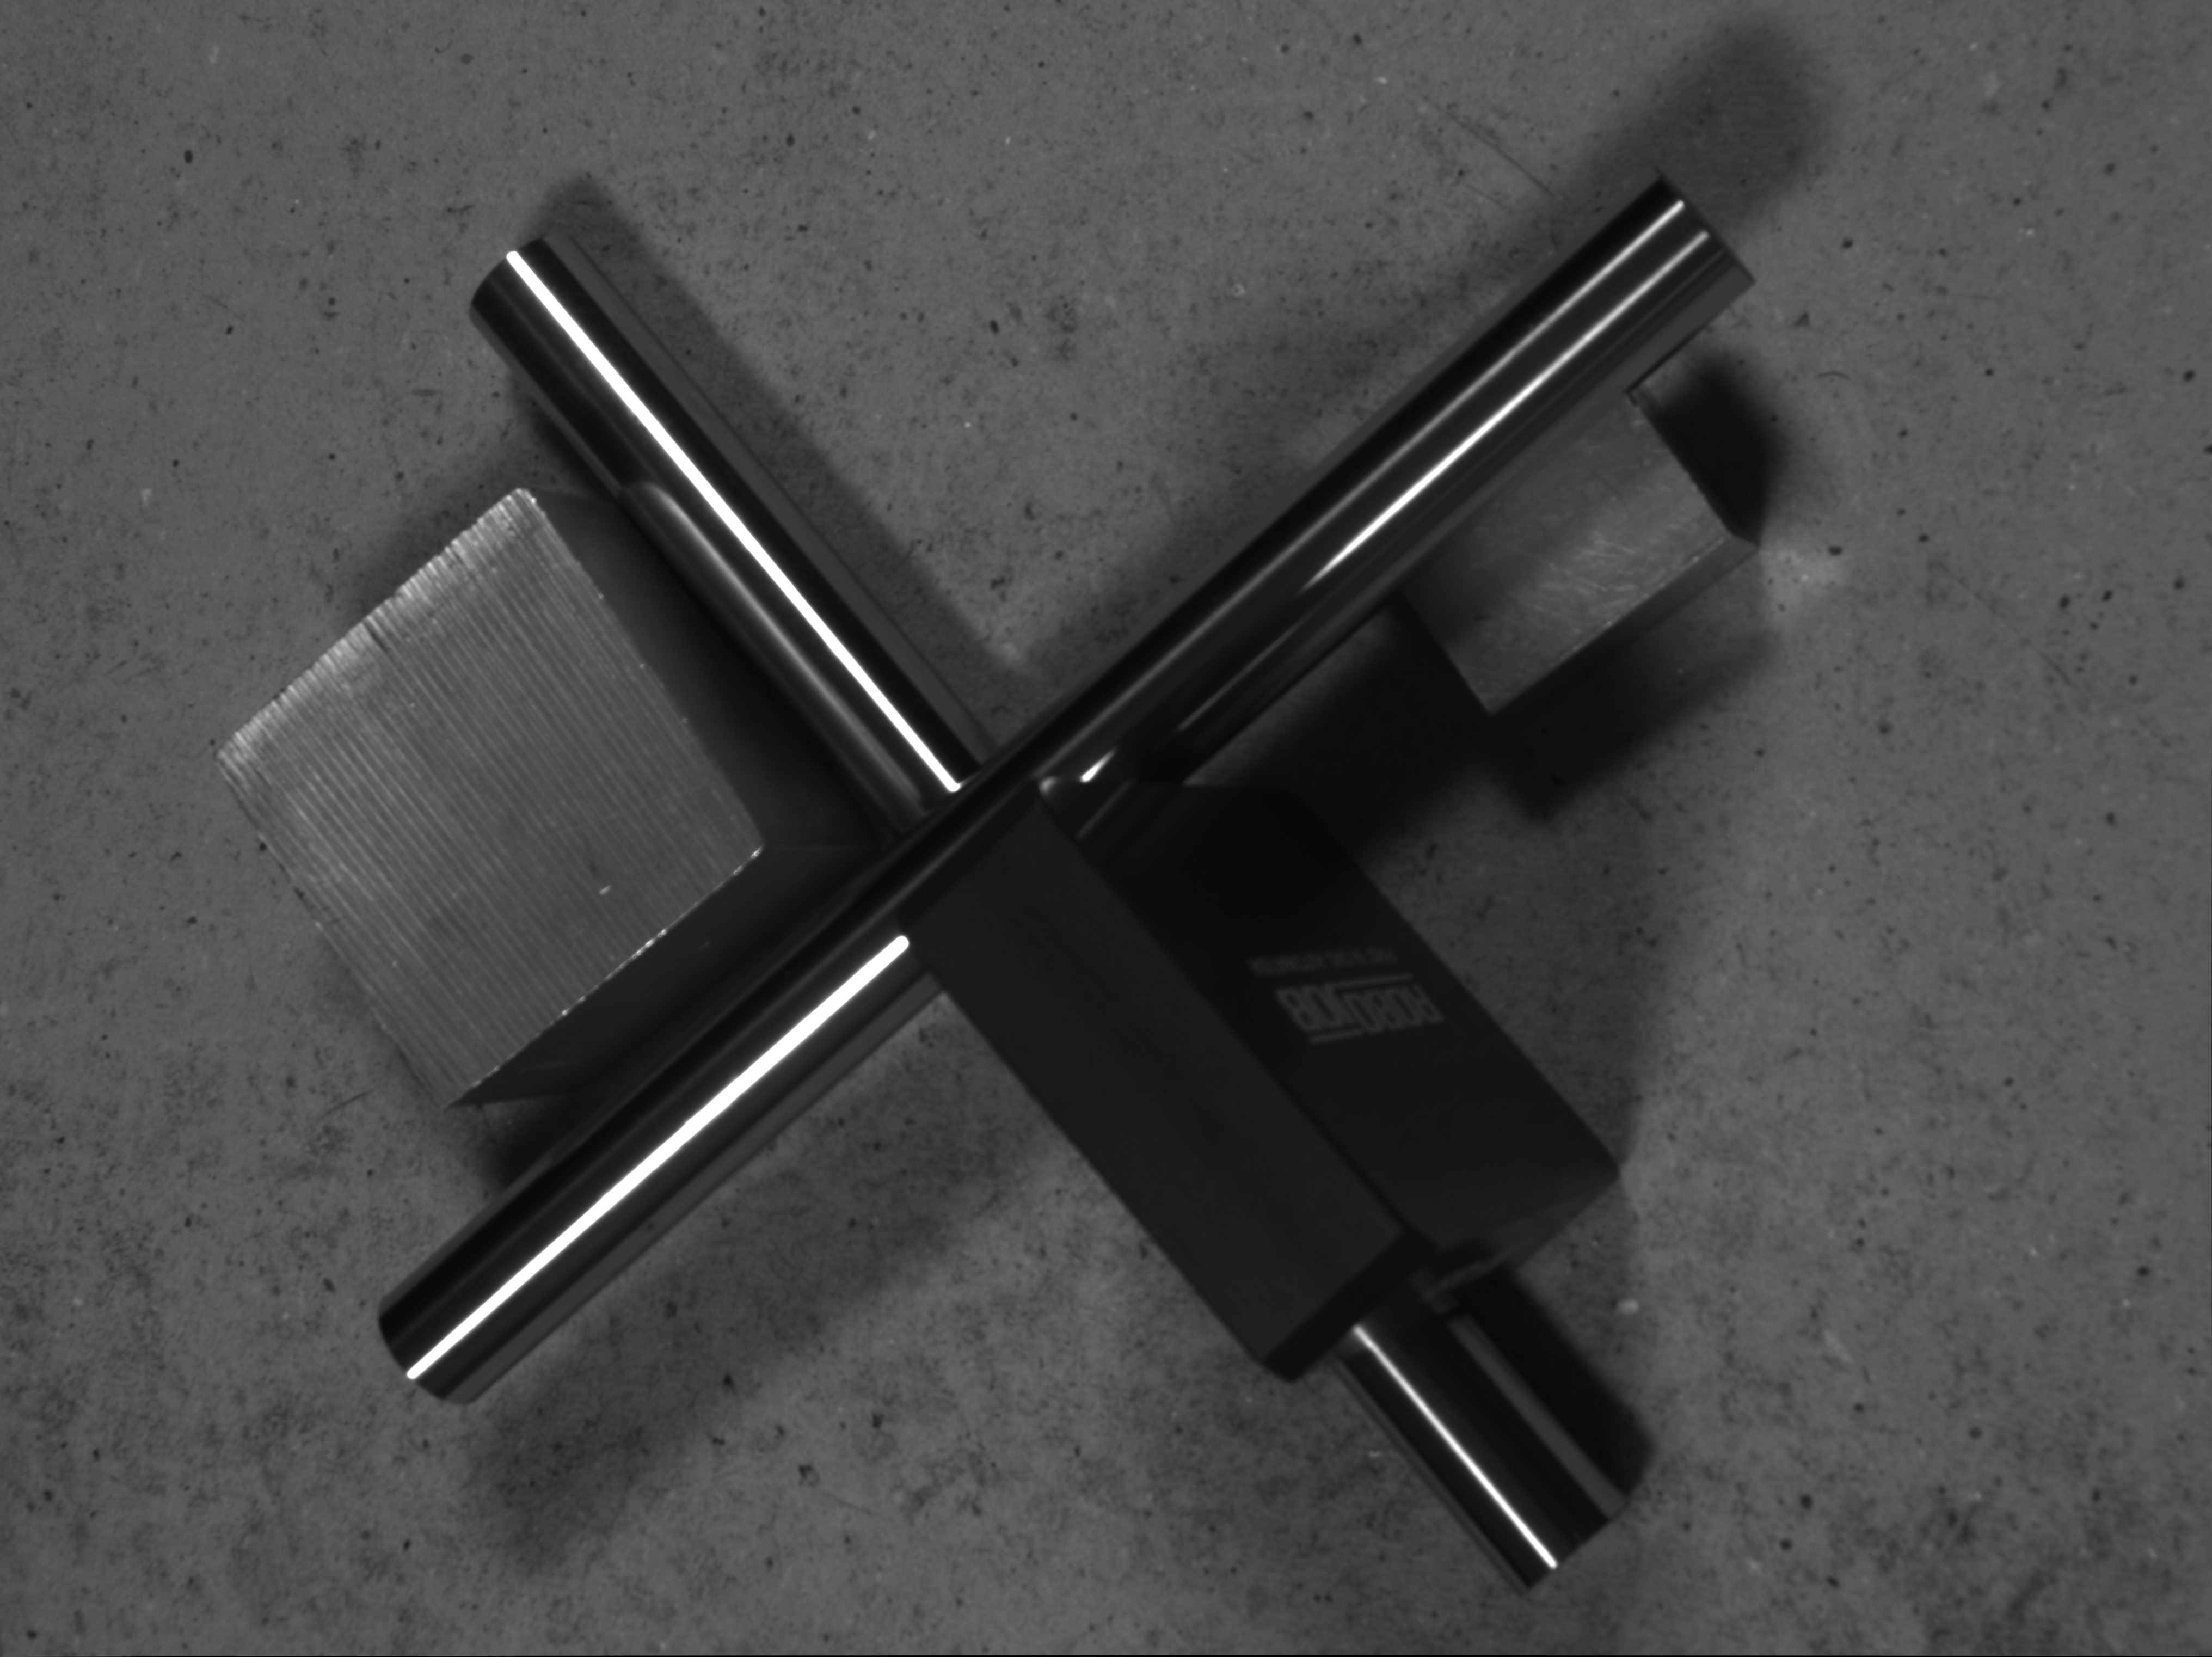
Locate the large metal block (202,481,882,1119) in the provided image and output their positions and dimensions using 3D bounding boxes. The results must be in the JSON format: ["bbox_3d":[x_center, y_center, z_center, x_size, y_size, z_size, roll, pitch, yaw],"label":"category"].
[{"bbox_3d":[-0.102,-0.005,0.666,0.080,0.050,0.080,-38,78,16],"label":"large metal block"}]

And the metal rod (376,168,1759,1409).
[{"bbox_3d":[-0.013,-0.001,0.622,0.300,0.025,0.025,-41,77,15],"label":"metal rod"}]

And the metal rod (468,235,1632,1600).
[{"bbox_3d":[-0.015,0.010,0.650,0.025,0.025,0.300,-43,77,14],"label":"metal rod"}]

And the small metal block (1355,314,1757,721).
[{"bbox_3d":[0.073,-0.053,0.618,0.050,0.025,0.050,-37,78,16],"label":"small metal block"}]

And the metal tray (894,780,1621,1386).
[{"bbox_3d":[0.028,0.036,0.578,0.030,0.130,0.090,-44,76,15],"label":"metal tray"}]
